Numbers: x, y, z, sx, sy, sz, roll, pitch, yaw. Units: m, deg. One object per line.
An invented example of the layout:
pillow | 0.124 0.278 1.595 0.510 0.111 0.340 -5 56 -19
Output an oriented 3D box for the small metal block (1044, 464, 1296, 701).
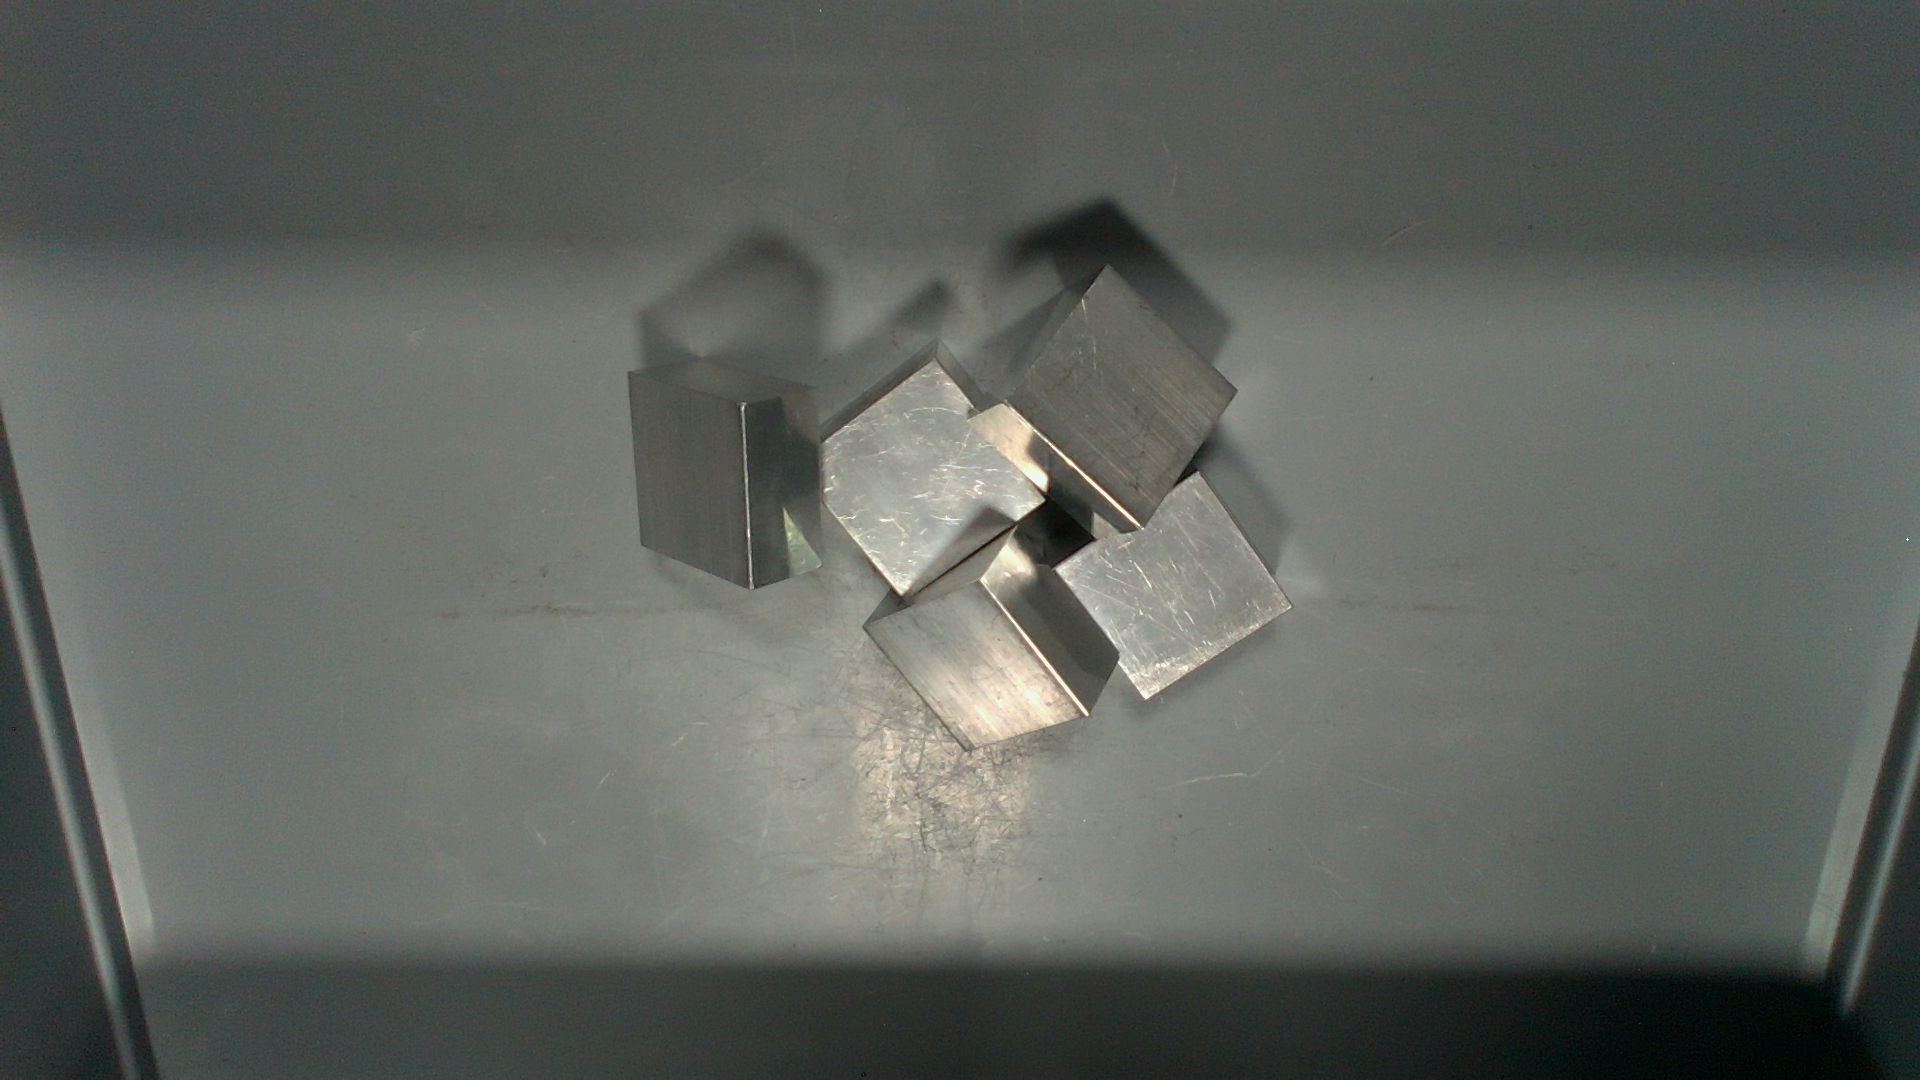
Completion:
small metal block | 0.060 0.009 0.396 0.050 0.025 0.050 -34 107 12

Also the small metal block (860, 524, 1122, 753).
small metal block | 0.009 0.029 0.391 0.050 0.025 0.050 -24 112 42

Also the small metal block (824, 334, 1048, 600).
small metal block | -0.011 -0.020 0.385 0.050 0.025 0.050 -36 106 12

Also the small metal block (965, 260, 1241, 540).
small metal block | 0.039 -0.036 0.367 0.050 0.025 0.050 41 70 -14

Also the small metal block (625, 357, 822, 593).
small metal block | -0.064 -0.019 0.371 0.050 0.025 0.050 18 116 40
